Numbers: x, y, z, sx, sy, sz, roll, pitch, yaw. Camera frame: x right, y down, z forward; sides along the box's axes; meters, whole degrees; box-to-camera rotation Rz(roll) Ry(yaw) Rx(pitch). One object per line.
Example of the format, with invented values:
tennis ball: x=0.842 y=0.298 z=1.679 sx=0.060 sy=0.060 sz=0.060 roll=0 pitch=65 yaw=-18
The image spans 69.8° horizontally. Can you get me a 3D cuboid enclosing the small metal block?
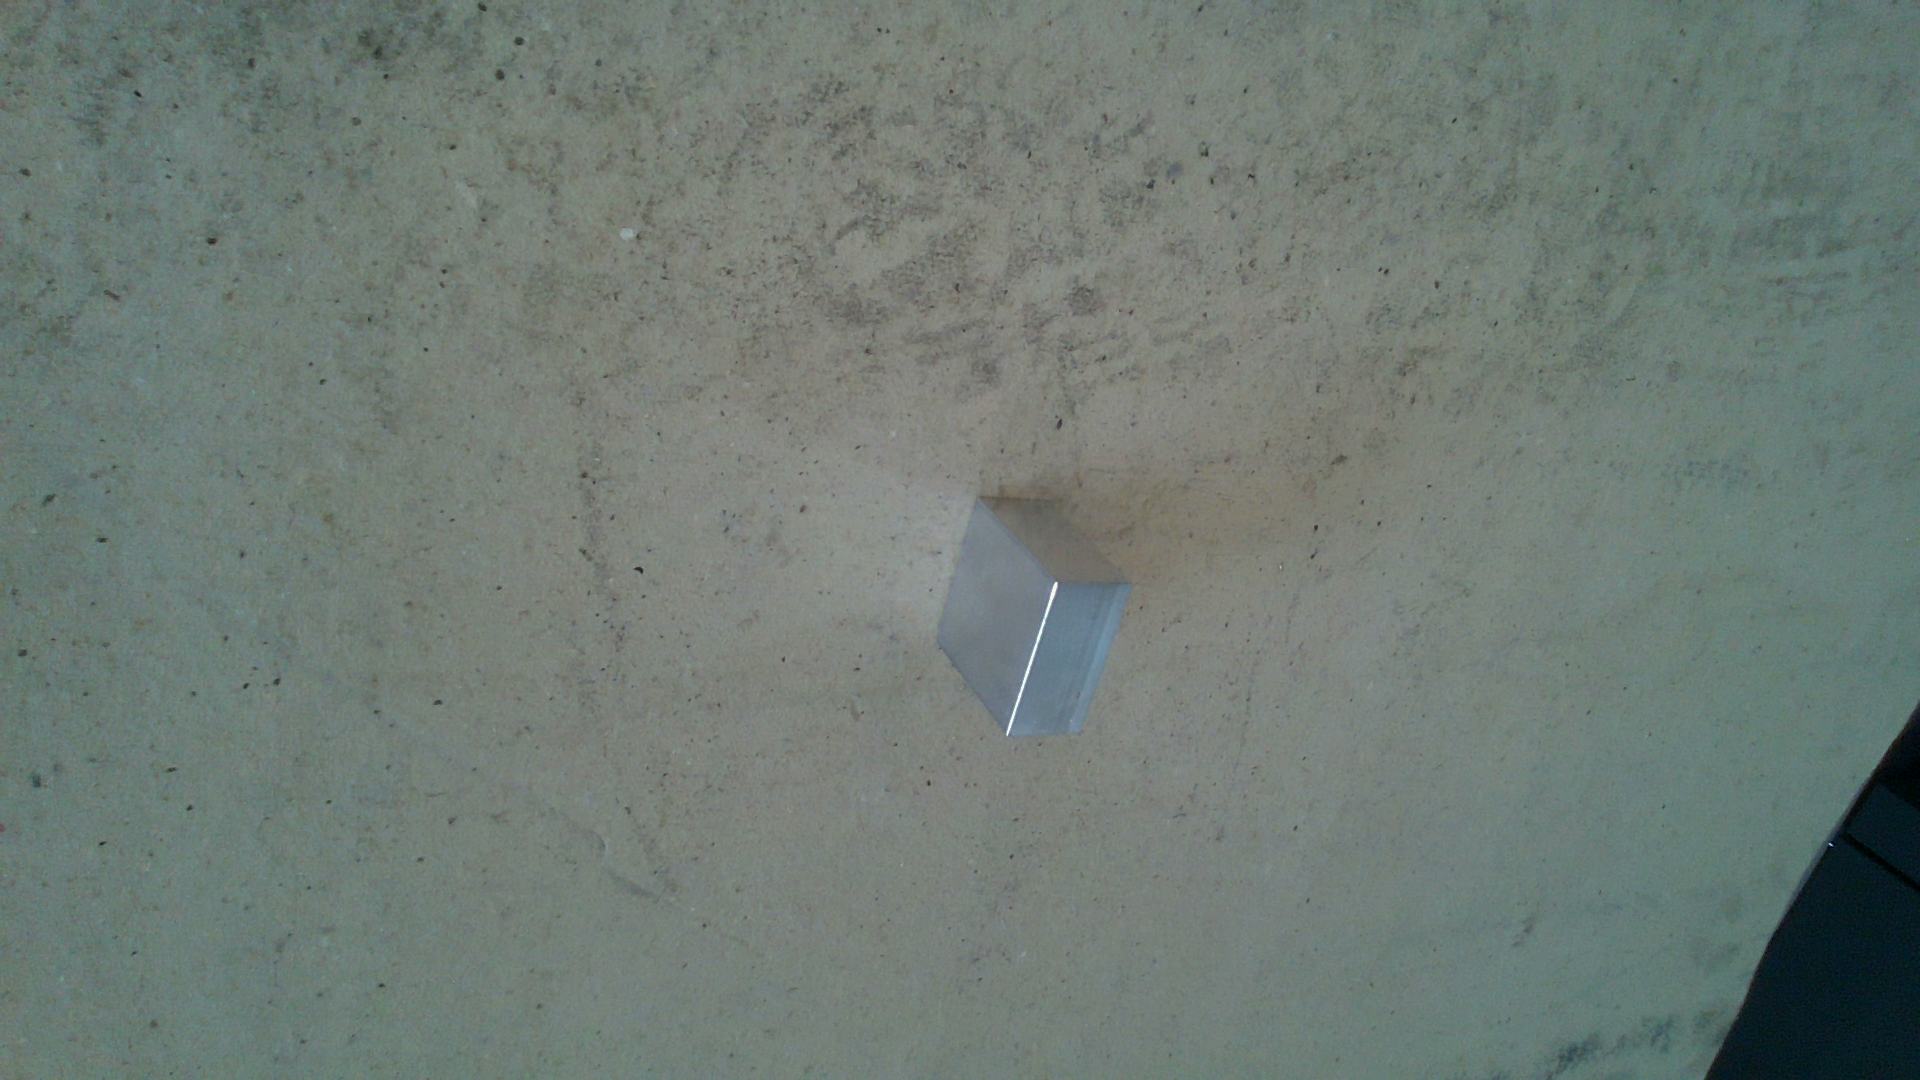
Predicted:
small metal block: x=0.019 y=0.021 z=0.397 sx=0.025 sy=0.050 sz=0.050 roll=1 pitch=118 yaw=-30
